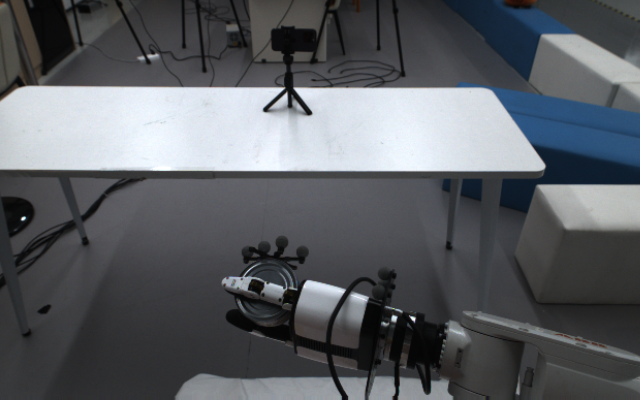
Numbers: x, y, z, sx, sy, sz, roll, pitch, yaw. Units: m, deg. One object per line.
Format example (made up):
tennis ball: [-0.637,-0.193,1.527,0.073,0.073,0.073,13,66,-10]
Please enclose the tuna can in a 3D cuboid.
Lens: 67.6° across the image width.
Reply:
tuna can: [-0.067,0.124,0.644,0.085,0.034,0.085,-6,61,10]
